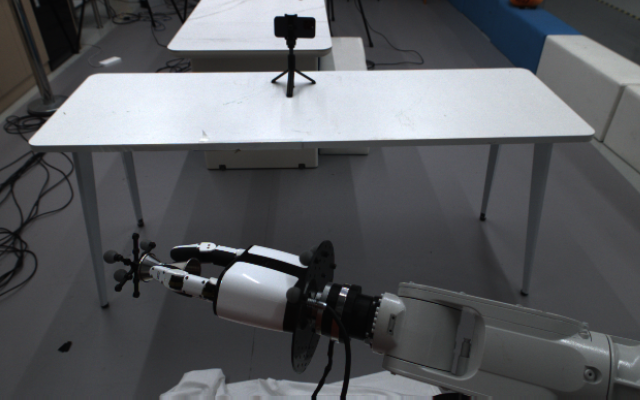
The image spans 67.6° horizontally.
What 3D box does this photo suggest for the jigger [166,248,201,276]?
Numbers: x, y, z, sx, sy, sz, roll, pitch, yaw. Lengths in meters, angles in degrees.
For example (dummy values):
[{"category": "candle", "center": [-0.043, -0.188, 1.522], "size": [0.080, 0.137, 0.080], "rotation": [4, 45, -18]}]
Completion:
[{"category": "jigger", "center": [-0.188, 0.088, 0.633], "size": [0.071, 0.043, 0.043], "rotation": [5, 34, 16]}]
